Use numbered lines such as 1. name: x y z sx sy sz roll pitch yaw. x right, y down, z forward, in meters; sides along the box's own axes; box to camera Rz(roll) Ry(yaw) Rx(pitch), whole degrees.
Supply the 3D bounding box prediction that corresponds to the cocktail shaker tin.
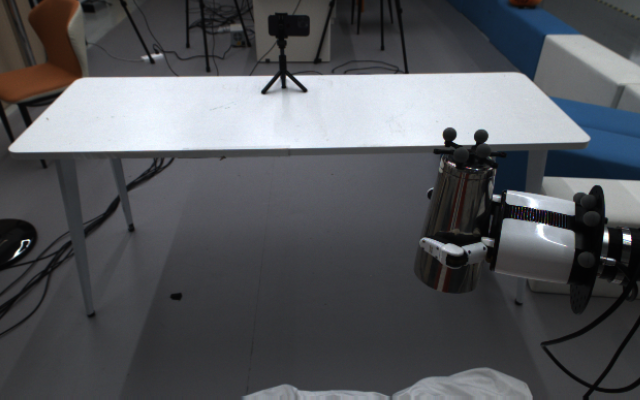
1. cocktail shaker tin: 0.182 0.023 0.633 0.093 0.170 0.093 2 28 -1
